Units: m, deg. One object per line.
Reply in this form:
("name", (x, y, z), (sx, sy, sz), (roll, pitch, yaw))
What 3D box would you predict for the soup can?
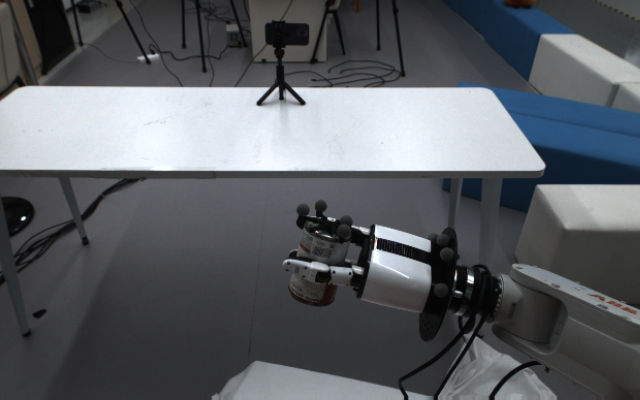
("soup can", (0.001, 0.085, 0.664), (0.067, 0.101, 0.067), (13, 18, -4))
